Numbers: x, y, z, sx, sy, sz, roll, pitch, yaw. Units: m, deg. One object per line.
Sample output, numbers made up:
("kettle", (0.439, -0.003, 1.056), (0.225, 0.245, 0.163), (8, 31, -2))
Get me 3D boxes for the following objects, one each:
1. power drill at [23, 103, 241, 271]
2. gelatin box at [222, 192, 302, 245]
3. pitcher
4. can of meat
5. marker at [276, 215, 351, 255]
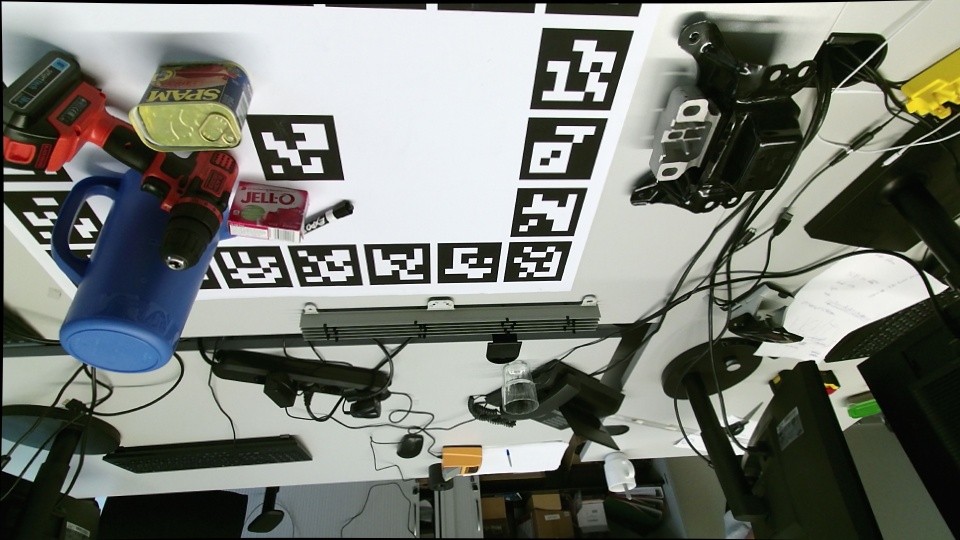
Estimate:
("power drill", (-0.376, -0.091, 0.595), (0.188, 0.183, 0.057), (28, 125, -25))
("gelatin box", (-0.290, -0.068, 0.714), (0.090, 0.073, 0.030), (7, 132, -12))
("pitcher", (-0.427, -0.004, 0.652), (0.189, 0.241, 0.133), (18, 129, -34))
("can of meat", (-0.310, -0.171, 0.584), (0.102, 0.083, 0.058), (-2, 140, -4))
("marker", (-0.240, -0.051, 0.775), (0.121, 0.019, 0.020), (-21, 136, 14))
